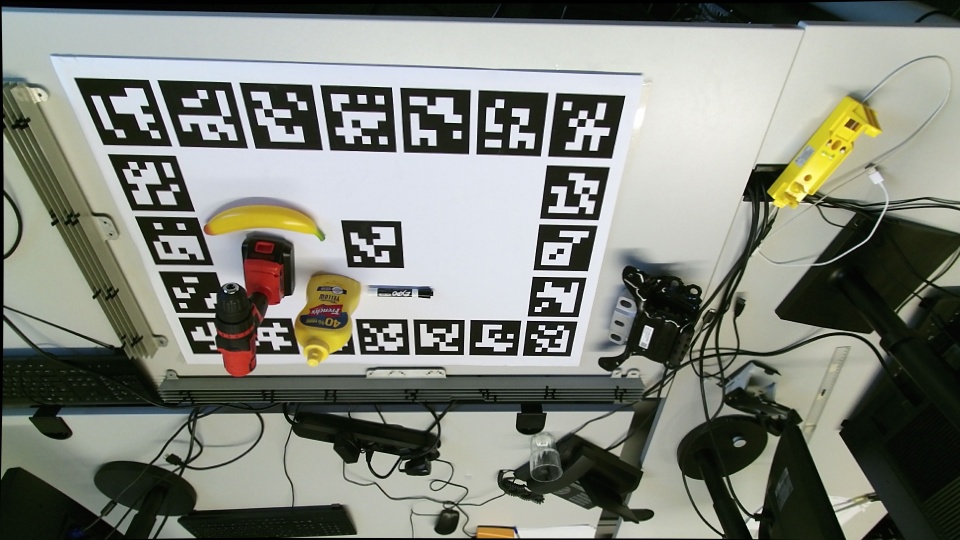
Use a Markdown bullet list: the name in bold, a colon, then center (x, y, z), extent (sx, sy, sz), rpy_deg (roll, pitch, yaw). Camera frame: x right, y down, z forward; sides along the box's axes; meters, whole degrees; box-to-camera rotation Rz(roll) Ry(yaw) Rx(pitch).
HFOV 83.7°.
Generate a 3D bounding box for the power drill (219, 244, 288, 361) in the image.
- **power drill**: center (-0.373, 0.040, 0.888), extent (0.057, 0.186, 0.184), rpy_deg (14, 126, -9)

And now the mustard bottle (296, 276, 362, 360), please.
- **mustard bottle**: center (-0.271, 0.086, 0.945), extent (0.096, 0.190, 0.058), rpy_deg (11, 124, -9)

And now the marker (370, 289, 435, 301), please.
- **marker**: center (-0.148, 0.048, 1.028), extent (0.121, 0.019, 0.019), rpy_deg (3, 124, -4)

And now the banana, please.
- **banana**: center (-0.361, -0.086, 0.916), extent (0.198, 0.038, 0.074), rpy_deg (7, 123, -9)
